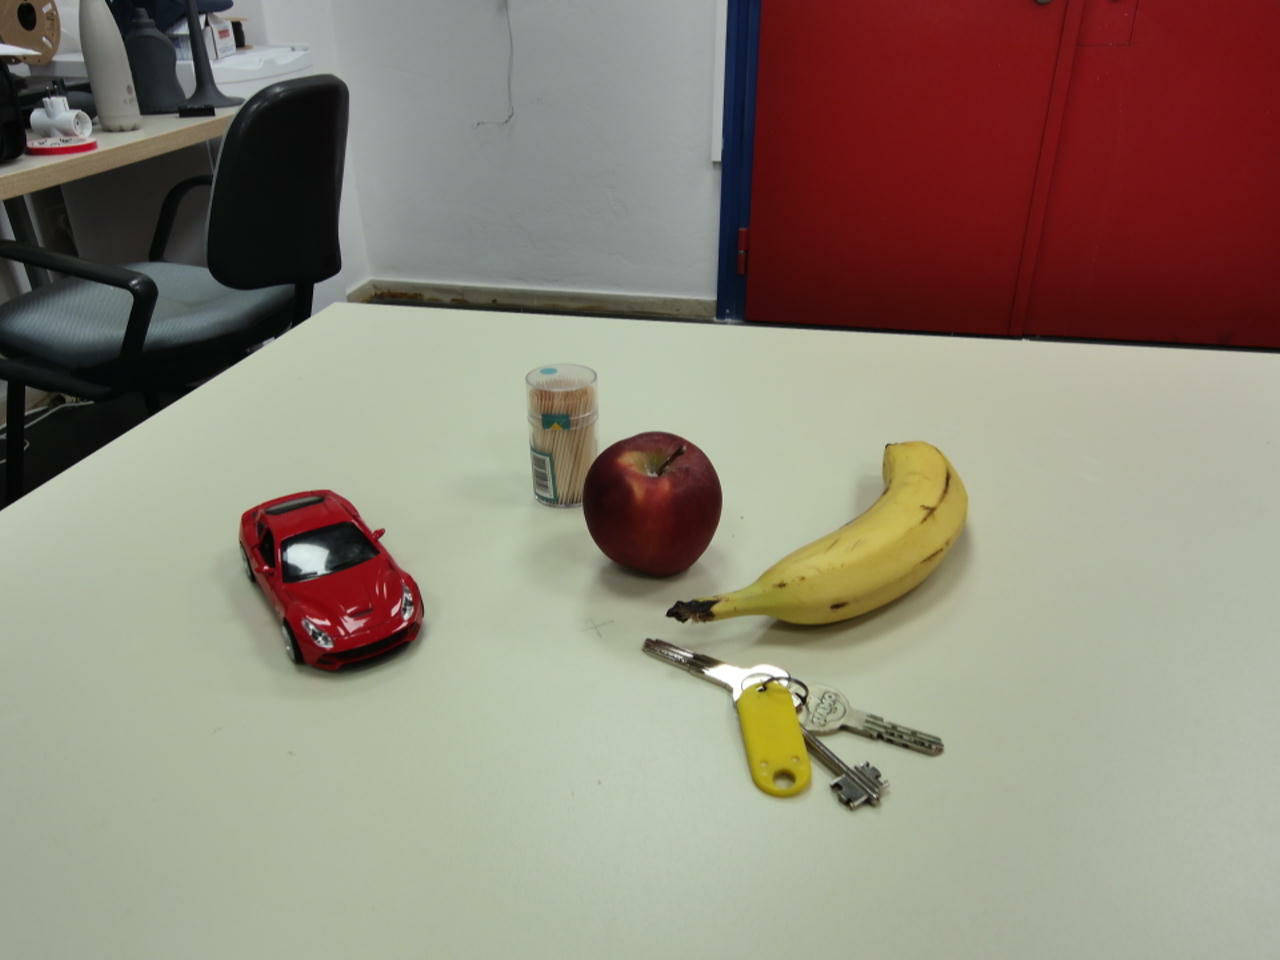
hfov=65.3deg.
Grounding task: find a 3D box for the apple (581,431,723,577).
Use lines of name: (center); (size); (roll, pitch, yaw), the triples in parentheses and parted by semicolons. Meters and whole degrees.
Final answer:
apple: (0.007, 0.012, 0.494); (0.070, 0.072, 0.070); (1, 25, 0)
